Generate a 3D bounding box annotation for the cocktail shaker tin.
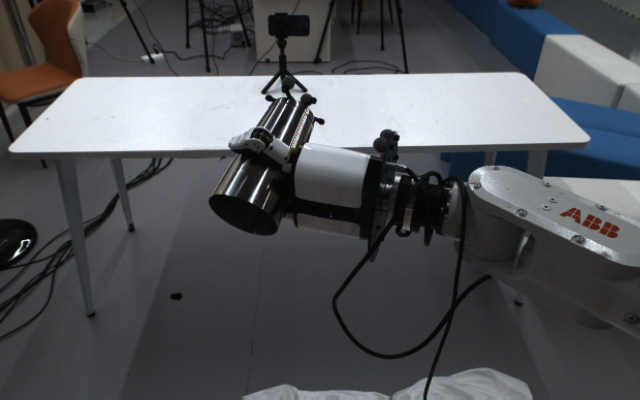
[{"bbox_3d":[-0.067,-0.049,0.628,0.093,0.093,0.170,14,61,17],"label":"cocktail shaker tin"}]
